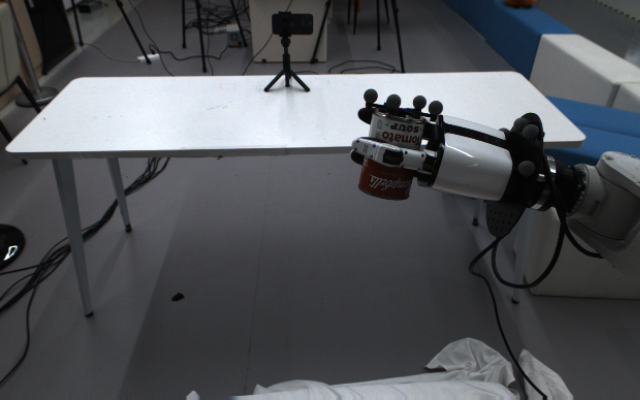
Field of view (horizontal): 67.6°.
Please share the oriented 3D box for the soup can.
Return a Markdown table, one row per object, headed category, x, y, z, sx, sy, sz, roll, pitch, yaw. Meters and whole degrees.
| category | x | y | z | sx | sy | sz | roll | pitch | yaw |
| --- | --- | --- | --- | --- | --- | --- | --- | --- | --- |
| soup can | 0.091 | -0.059 | 0.612 | 0.067 | 0.101 | 0.067 | 9 | 19 | -3 |
